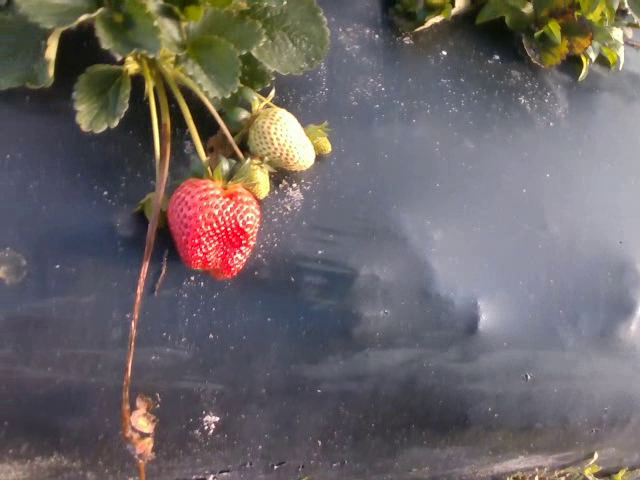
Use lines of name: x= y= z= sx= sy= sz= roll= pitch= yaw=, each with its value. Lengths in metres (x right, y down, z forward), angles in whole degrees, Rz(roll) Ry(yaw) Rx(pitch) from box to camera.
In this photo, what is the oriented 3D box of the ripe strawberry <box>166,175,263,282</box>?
ripe strawberry: x=-0.049 y=-0.005 z=0.298 sx=0.047 sy=0.050 sz=0.034 roll=6 pitch=-6 yaw=-16
